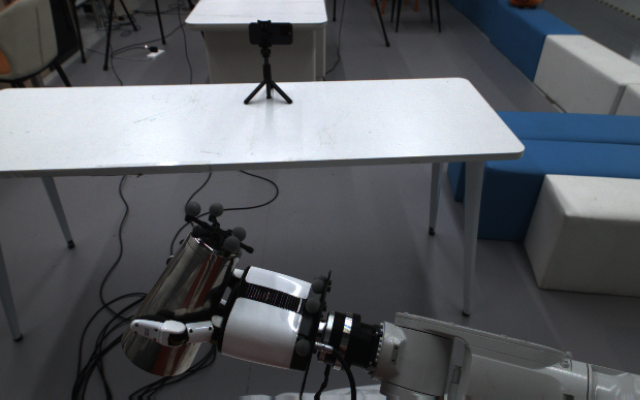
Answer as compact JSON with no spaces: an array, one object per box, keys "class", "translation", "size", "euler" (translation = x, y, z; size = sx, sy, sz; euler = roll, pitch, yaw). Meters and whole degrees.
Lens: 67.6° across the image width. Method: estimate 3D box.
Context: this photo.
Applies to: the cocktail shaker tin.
[{"class":"cocktail shaker tin","translation":[-0.160,0.116,0.587],"size":[0.093,0.170,0.093],"euler":[28,14,-7]}]
